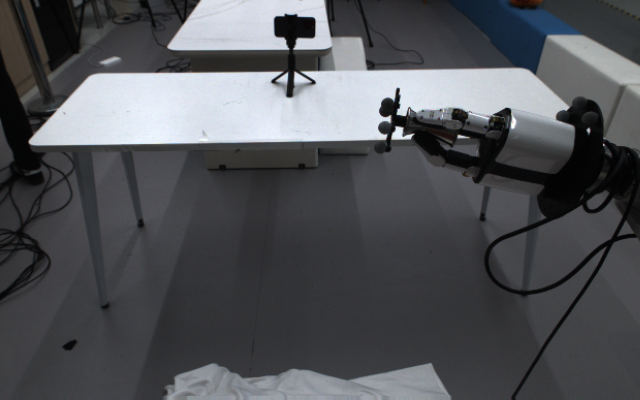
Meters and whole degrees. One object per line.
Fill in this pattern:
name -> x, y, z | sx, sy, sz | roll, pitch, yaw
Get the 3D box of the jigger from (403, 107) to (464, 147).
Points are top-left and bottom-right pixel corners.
jigger -> 0.154, -0.103, 0.647 | 0.071, 0.043, 0.043 | 11, 35, 3
